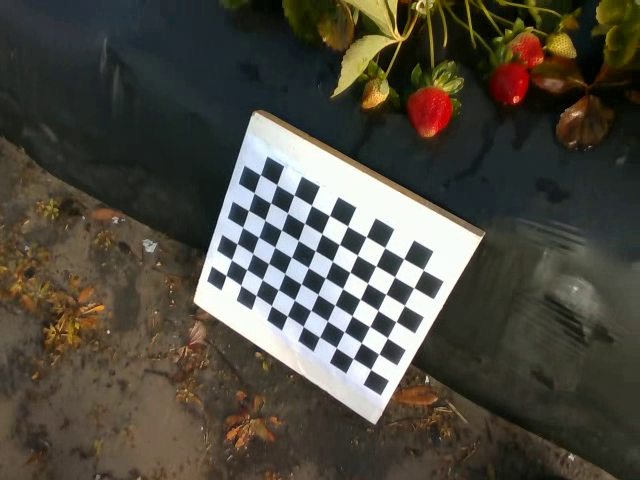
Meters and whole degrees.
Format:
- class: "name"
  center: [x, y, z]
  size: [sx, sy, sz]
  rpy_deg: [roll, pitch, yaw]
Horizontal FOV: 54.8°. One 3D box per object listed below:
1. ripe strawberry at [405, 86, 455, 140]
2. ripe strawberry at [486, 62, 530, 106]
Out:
- class: "ripe strawberry"
  center: [0.110, -0.129, 0.629]
  size: [0.050, 0.065, 0.050]
  rpy_deg: [-10, -44, 31]
- class: "ripe strawberry"
  center: [0.192, -0.153, 0.625]
  size: [0.041, 0.055, 0.044]
  rpy_deg: [31, -52, -30]
